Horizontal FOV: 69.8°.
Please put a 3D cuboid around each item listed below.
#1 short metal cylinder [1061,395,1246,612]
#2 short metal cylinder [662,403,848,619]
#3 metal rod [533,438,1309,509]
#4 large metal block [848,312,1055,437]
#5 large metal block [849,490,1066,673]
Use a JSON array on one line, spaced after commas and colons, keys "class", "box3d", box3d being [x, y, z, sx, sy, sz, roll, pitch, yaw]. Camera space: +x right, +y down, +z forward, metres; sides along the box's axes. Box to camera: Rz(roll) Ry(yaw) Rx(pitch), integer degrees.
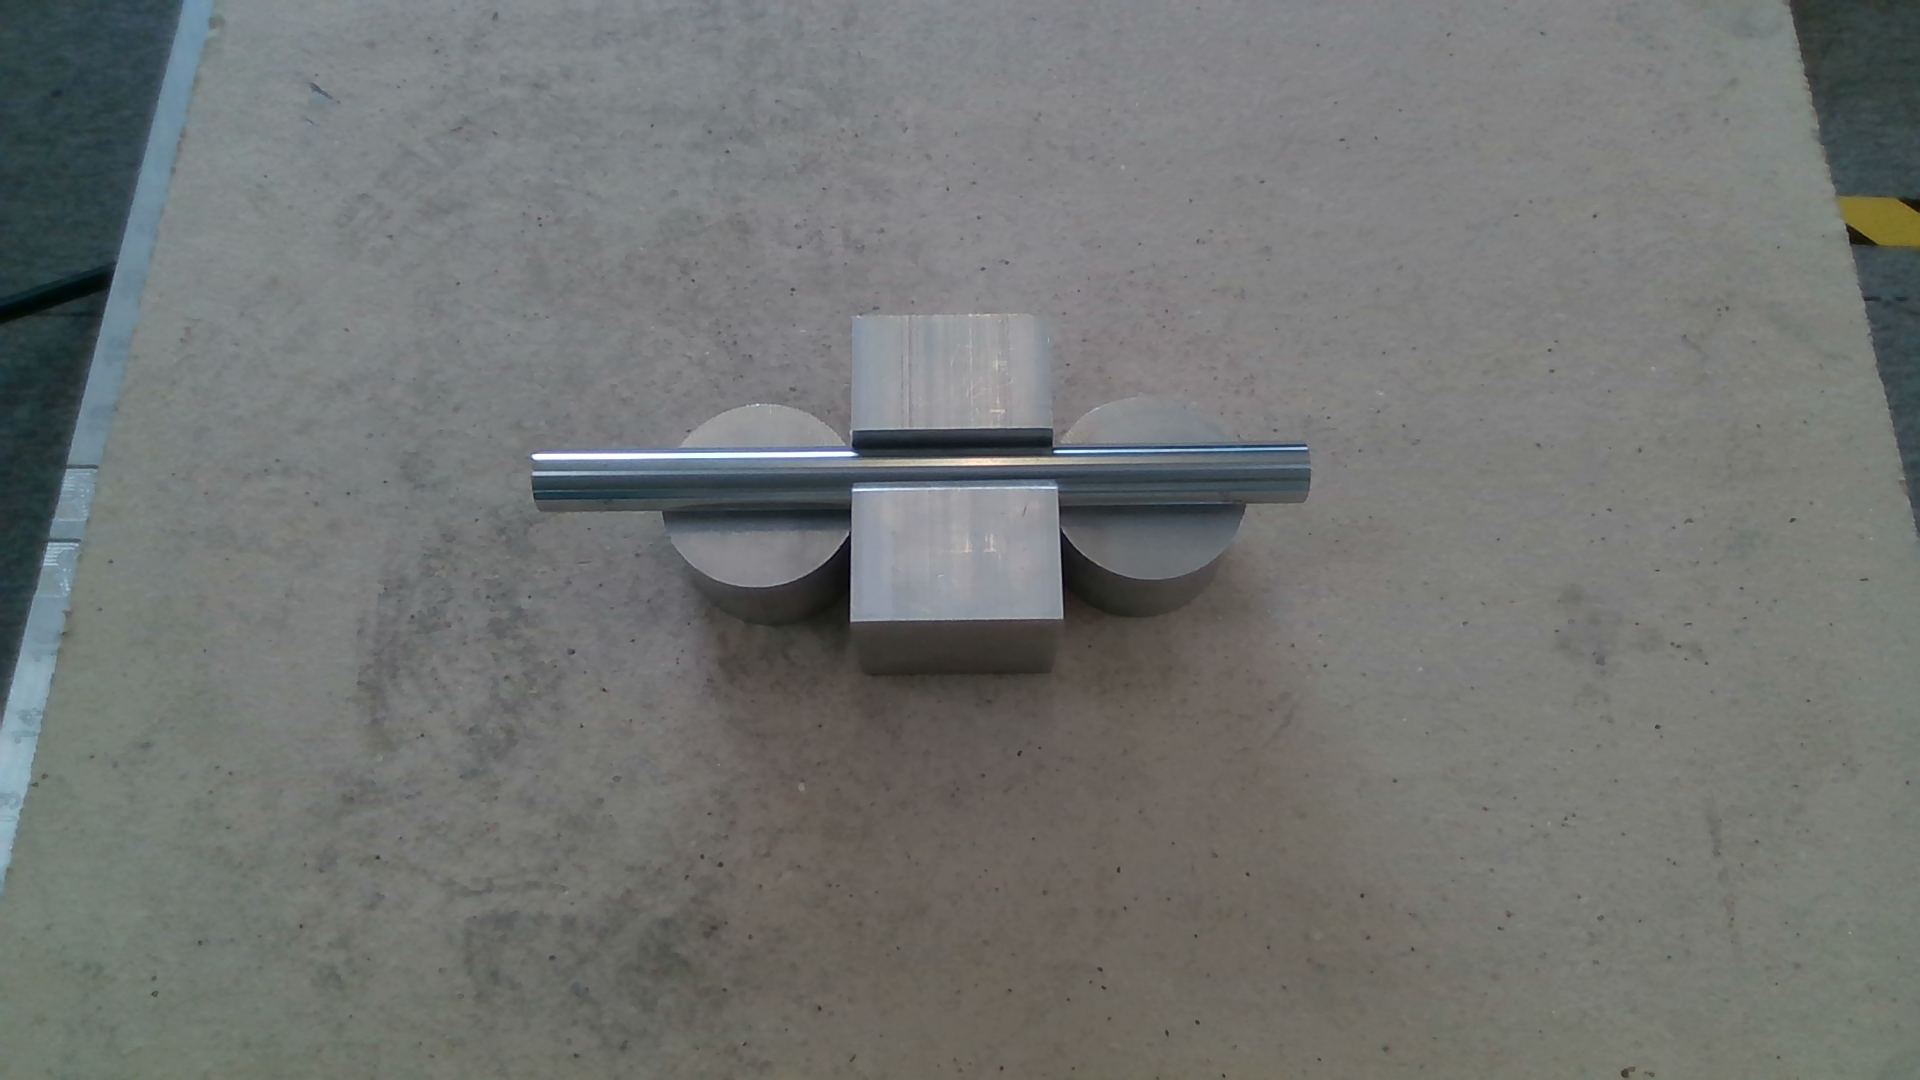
[{"class": "short metal cylinder", "box3d": [0.076, -0.014, 0.580, 0.080, 0.050, 0.080, 0, 70, -1]}, {"class": "short metal cylinder", "box3d": [-0.081, -0.010, 0.580, 0.080, 0.050, 0.080, 0, 70, -1]}, {"class": "metal rod", "box3d": [-0.015, -0.026, 0.544, 0.300, 0.025, 0.025, -1, 70, 0]}, {"class": "large metal block", "box3d": [-0.004, -0.053, 0.578, 0.080, 0.080, 0.050, -1, 70, -1]}, {"class": "large metal block", "box3d": [-0.002, 0.019, 0.553, 0.080, 0.080, 0.050, -1, 70, -1]}]
